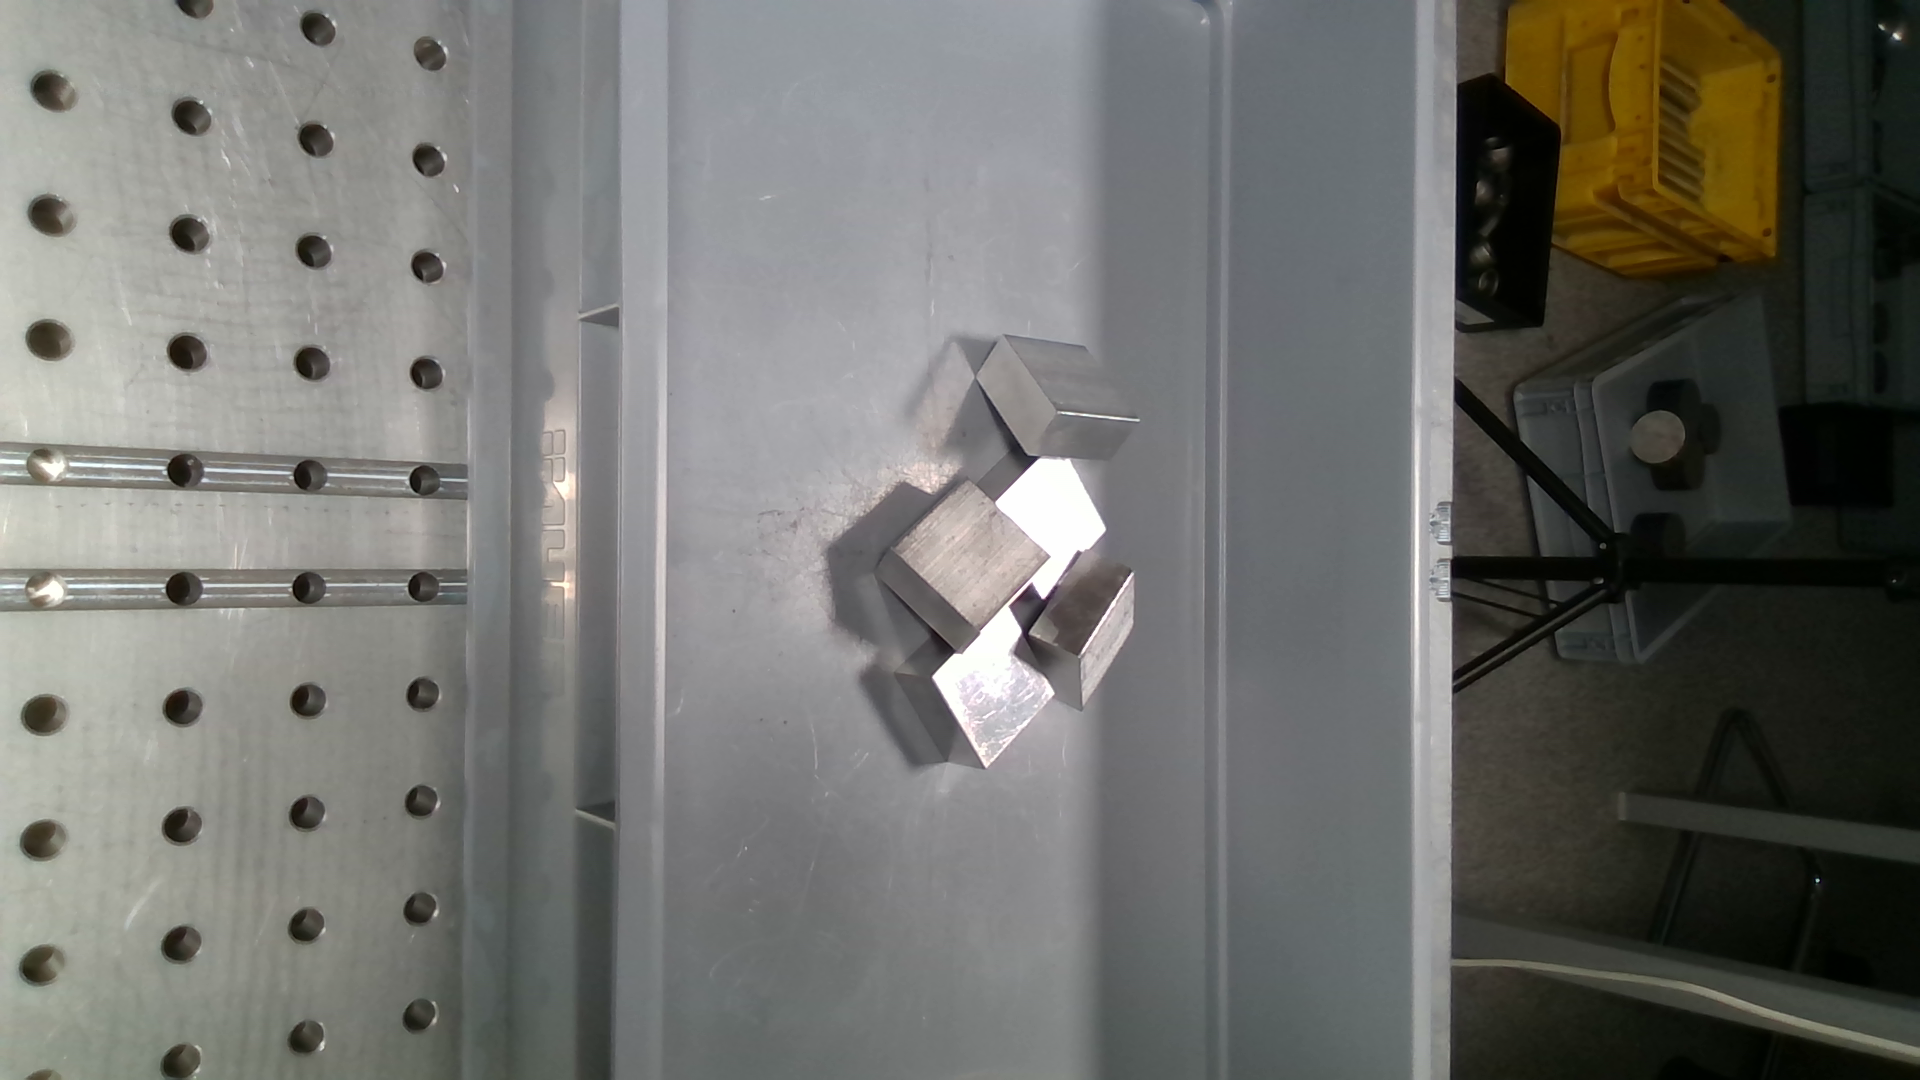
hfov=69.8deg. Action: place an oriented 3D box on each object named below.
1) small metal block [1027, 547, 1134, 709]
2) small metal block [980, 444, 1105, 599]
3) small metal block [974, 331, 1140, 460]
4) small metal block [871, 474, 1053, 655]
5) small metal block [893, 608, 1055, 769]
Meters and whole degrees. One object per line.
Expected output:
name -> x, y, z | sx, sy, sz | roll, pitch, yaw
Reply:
small metal block -> 0.054, 0.040, 0.613 | 0.050, 0.025, 0.050 | -54, 157, -26
small metal block -> 0.031, -0.009, 0.607 | 0.050, 0.025, 0.050 | -45, 117, -31
small metal block -> 0.042, -0.062, 0.599 | 0.050, 0.025, 0.050 | 1, 46, -41
small metal block -> 0.001, 0.010, 0.567 | 0.050, 0.025, 0.050 | 43, 58, 4
small metal block -> 0.007, 0.061, 0.587 | 0.050, 0.025, 0.050 | -44, 116, -31
